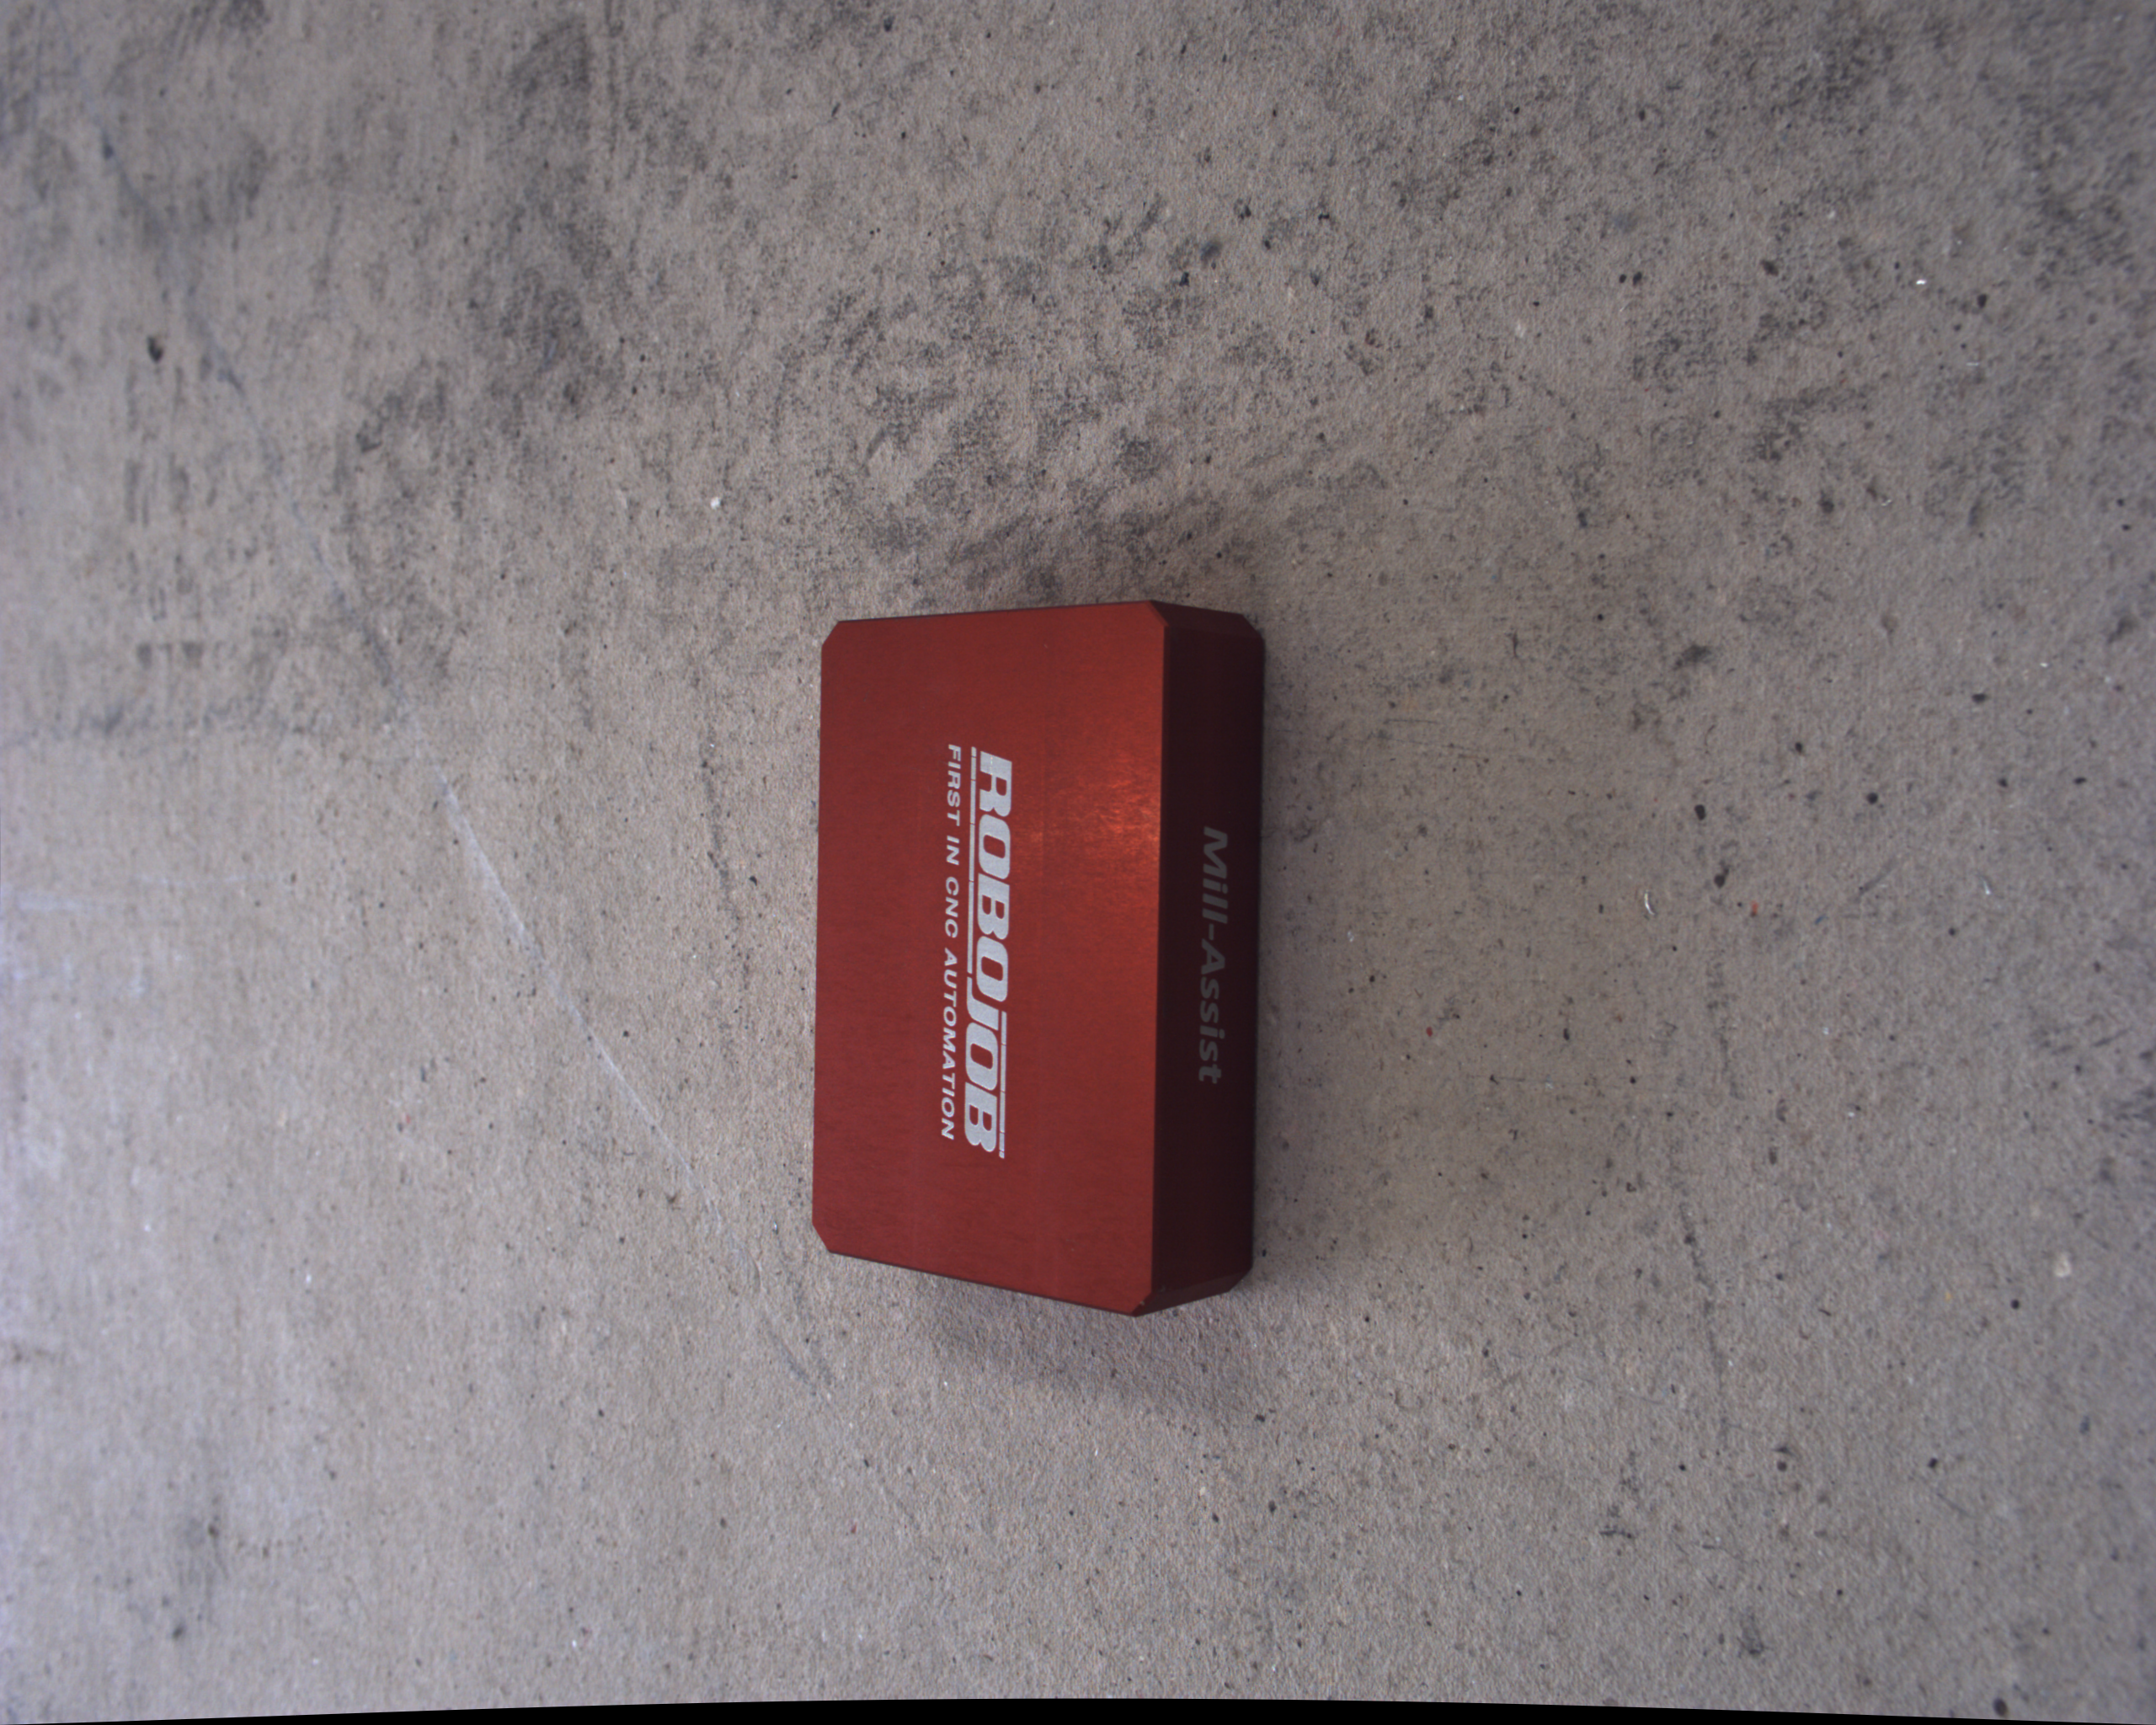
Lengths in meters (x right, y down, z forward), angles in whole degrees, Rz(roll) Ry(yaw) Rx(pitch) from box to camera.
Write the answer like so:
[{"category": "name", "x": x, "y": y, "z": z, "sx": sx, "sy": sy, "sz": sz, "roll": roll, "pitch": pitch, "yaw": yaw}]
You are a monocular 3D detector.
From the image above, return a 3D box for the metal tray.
[{"category": "metal tray", "x": -0.010, "y": 0.016, "z": 0.412, "sx": 0.090, "sy": 0.030, "sz": 0.129, "roll": 2, "pitch": 92, "yaw": 39}]
